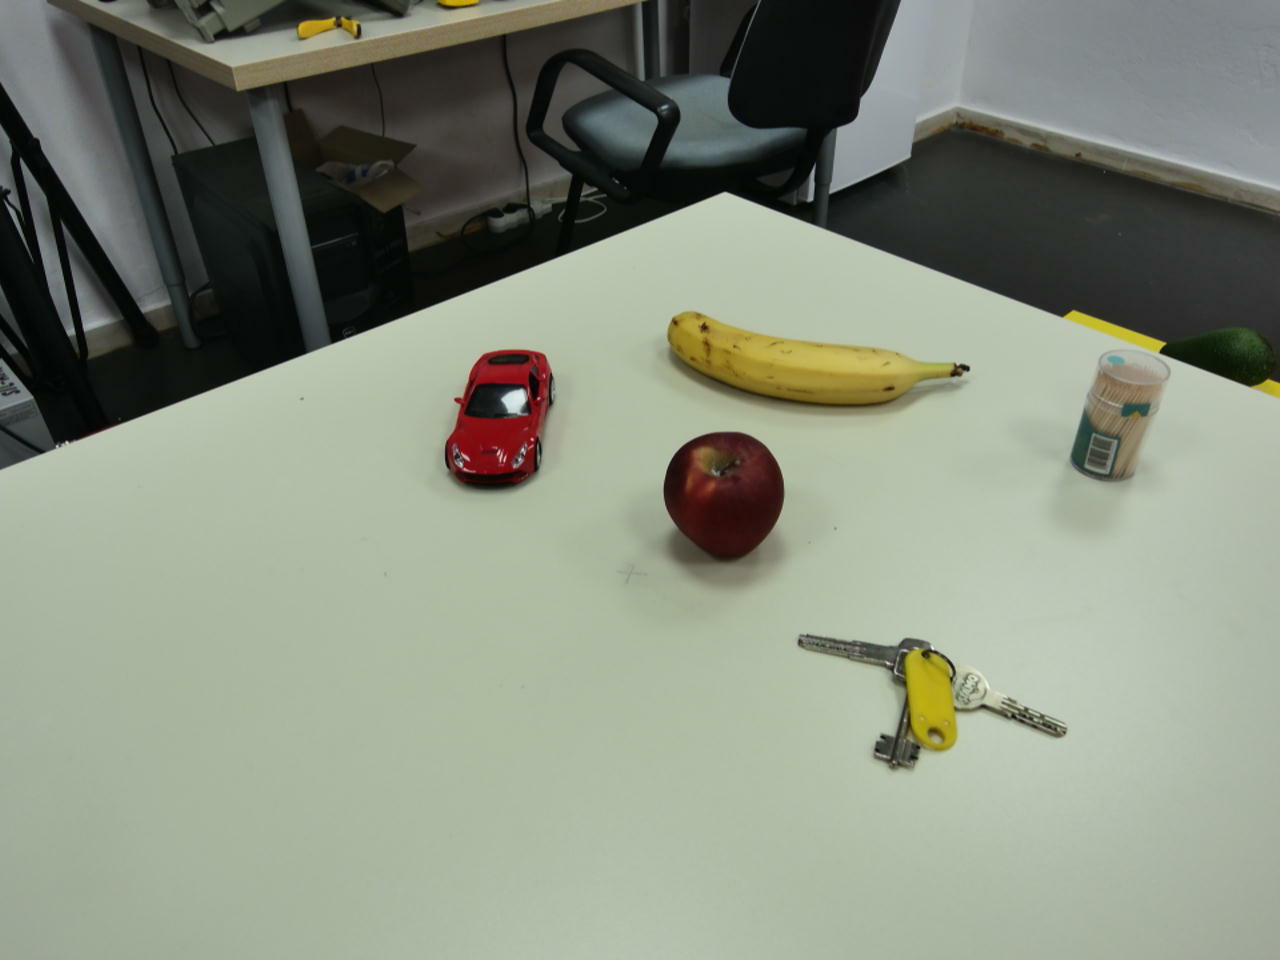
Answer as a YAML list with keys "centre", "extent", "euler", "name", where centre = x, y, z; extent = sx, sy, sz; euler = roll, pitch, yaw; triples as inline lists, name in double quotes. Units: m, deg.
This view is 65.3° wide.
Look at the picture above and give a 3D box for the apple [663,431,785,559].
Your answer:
- centre: [0.048, 0.008, 0.571]
  extent: [0.070, 0.072, 0.070]
  euler: [0, 36, 0]
  name: "apple"
